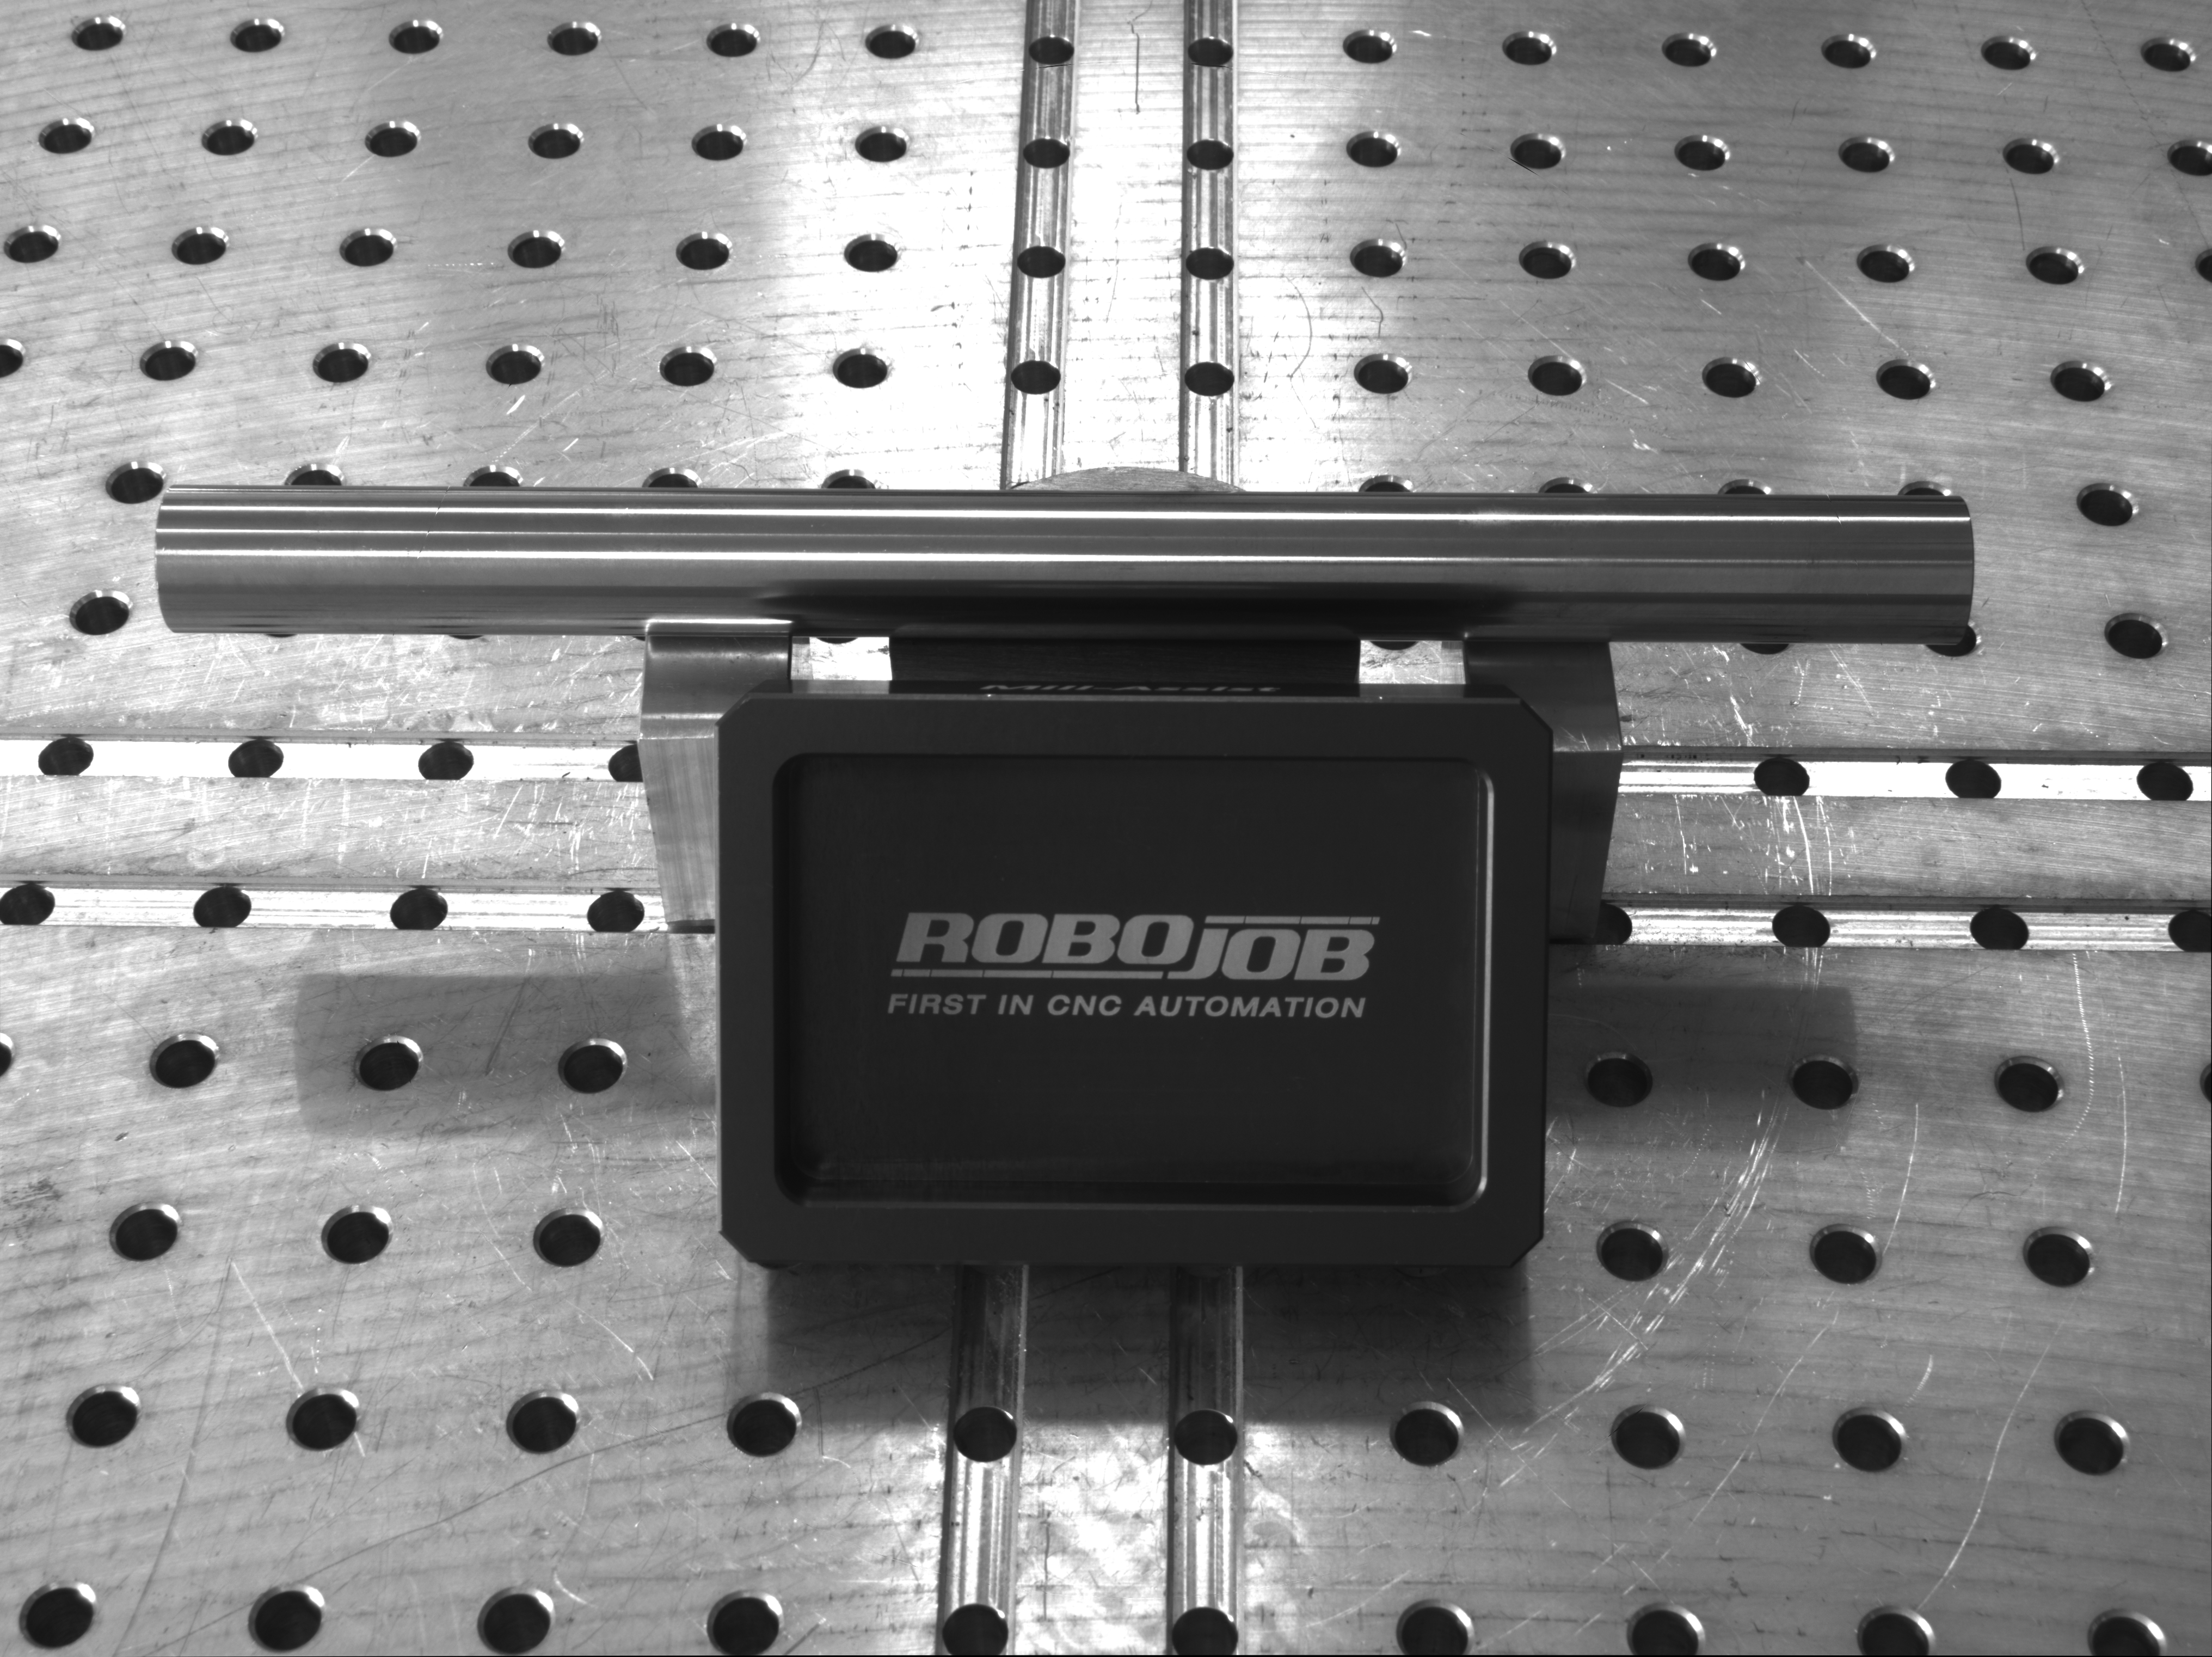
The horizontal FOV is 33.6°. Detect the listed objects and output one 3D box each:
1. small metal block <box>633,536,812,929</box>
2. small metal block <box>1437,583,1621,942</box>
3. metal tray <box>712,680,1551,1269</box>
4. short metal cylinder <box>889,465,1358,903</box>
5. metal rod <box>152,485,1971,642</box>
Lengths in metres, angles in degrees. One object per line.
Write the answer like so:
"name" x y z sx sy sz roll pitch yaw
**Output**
"small metal block" -0.066 -0.018 0.644 0.025 0.050 0.050 -1 50 0
"small metal block" 0.073 -0.015 0.642 0.025 0.050 0.050 -1 50 0
"metal tray" 0.004 0.023 0.586 0.130 0.090 0.030 0 7 0
"short metal cylinder" 0.003 -0.018 0.643 0.080 0.050 0.080 0 50 0
"metal rod" -0.008 -0.045 0.617 0.300 0.025 0.025 0 50 1
